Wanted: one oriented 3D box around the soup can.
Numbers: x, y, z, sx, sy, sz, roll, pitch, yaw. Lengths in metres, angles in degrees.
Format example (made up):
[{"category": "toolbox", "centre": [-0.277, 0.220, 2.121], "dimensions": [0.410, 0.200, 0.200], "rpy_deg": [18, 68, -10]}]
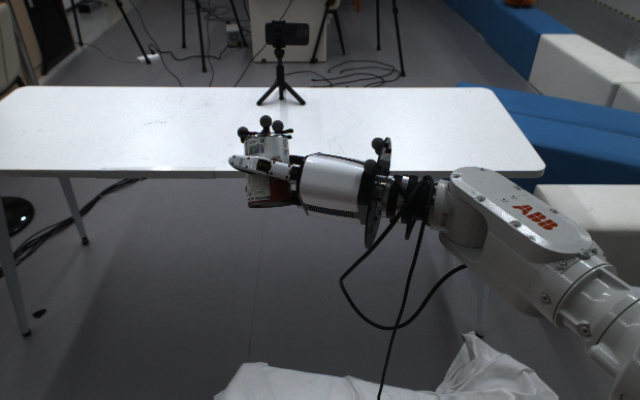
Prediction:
[{"category": "soup can", "centre": [-0.076, -0.041, 0.715], "dimensions": [0.067, 0.101, 0.067], "rpy_deg": [-5, -5, 0]}]
